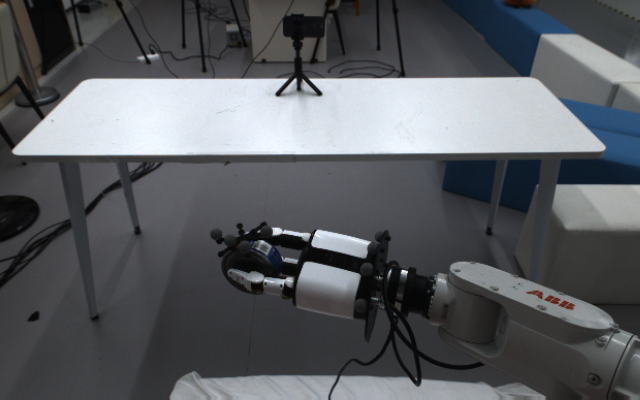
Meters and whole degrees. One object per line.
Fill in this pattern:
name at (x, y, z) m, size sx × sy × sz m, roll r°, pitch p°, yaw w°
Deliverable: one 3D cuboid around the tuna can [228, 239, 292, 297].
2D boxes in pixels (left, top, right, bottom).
tuna can at (-0.092, 0.097, 0.711) m, size 0.085 × 0.085 × 0.034 m, roll 10°, pitch 33°, yaw 11°
